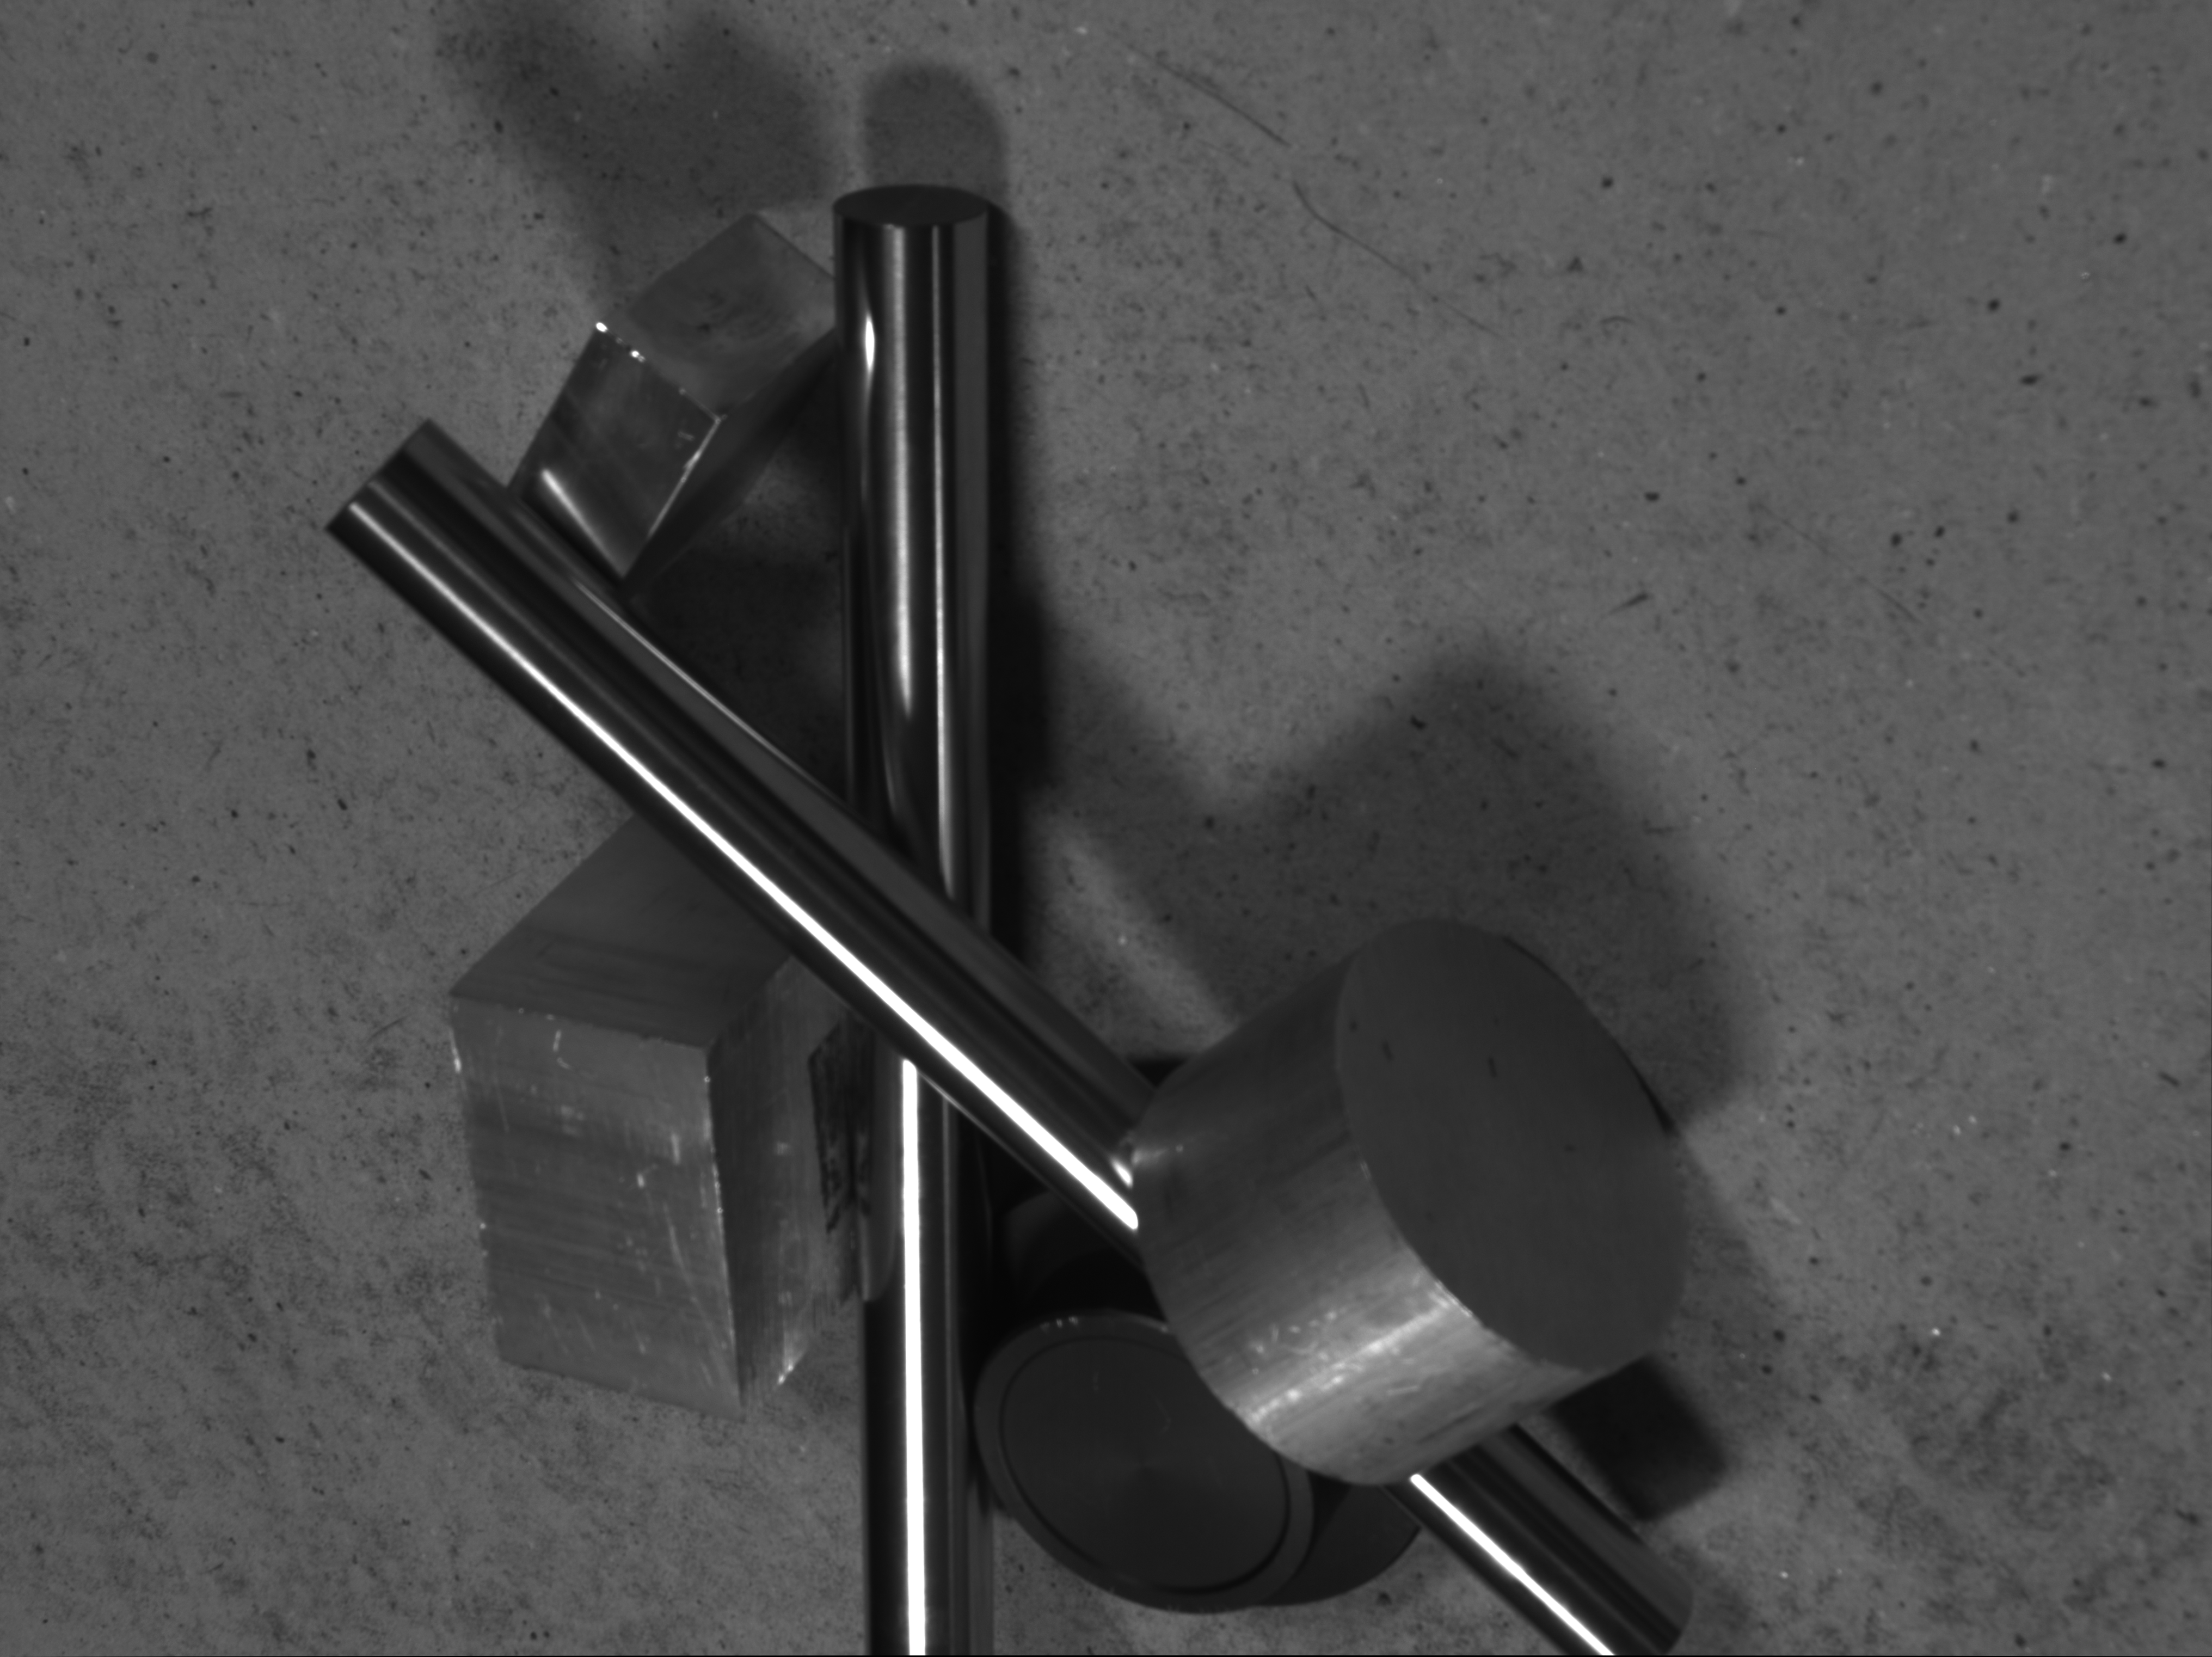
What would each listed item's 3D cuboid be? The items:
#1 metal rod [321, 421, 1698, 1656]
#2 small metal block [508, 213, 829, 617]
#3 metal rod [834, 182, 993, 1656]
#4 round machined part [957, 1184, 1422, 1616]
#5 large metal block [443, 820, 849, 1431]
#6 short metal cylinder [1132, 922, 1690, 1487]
[{"bbox_3d":[-0.010,0.044,0.619,0.300,0.025,0.025,43,129,-14],"label":"metal rod"},{"bbox_3d":[-0.072,-0.068,0.610,0.025,0.050,0.050,38,128,1],"label":"small metal block"},{"bbox_3d":[-0.033,0.036,0.650,0.025,0.025,0.300,11,117,21],"label":"metal rod"},{"bbox_3d":[0.015,0.106,0.677,0.098,0.042,0.098,12,123,20],"label":"round machined part"},{"bbox_3d":[-0.072,0.048,0.661,0.050,0.080,0.080,11,123,21],"label":"large metal block"},{"bbox_3d":[0.051,0.063,0.609,0.080,0.080,0.050,49,128,-7],"label":"short metal cylinder"}]
